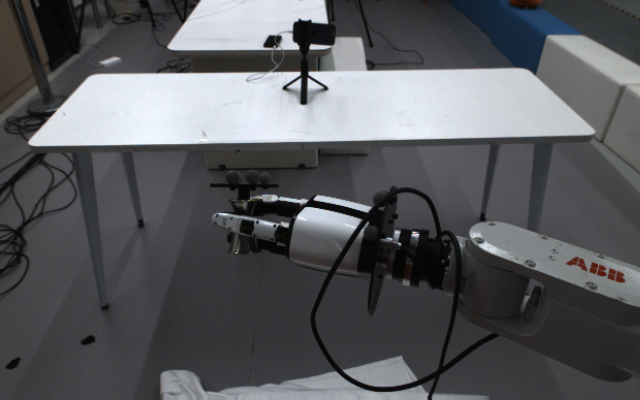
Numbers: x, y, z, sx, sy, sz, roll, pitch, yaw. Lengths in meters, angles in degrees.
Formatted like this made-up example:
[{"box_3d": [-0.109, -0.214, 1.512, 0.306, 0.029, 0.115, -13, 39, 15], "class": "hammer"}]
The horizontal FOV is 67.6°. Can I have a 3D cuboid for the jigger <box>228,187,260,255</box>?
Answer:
[{"box_3d": [-0.096, 0.033, 0.623, 0.043, 0.071, 0.043, 0, 2, 0], "class": "jigger"}]
